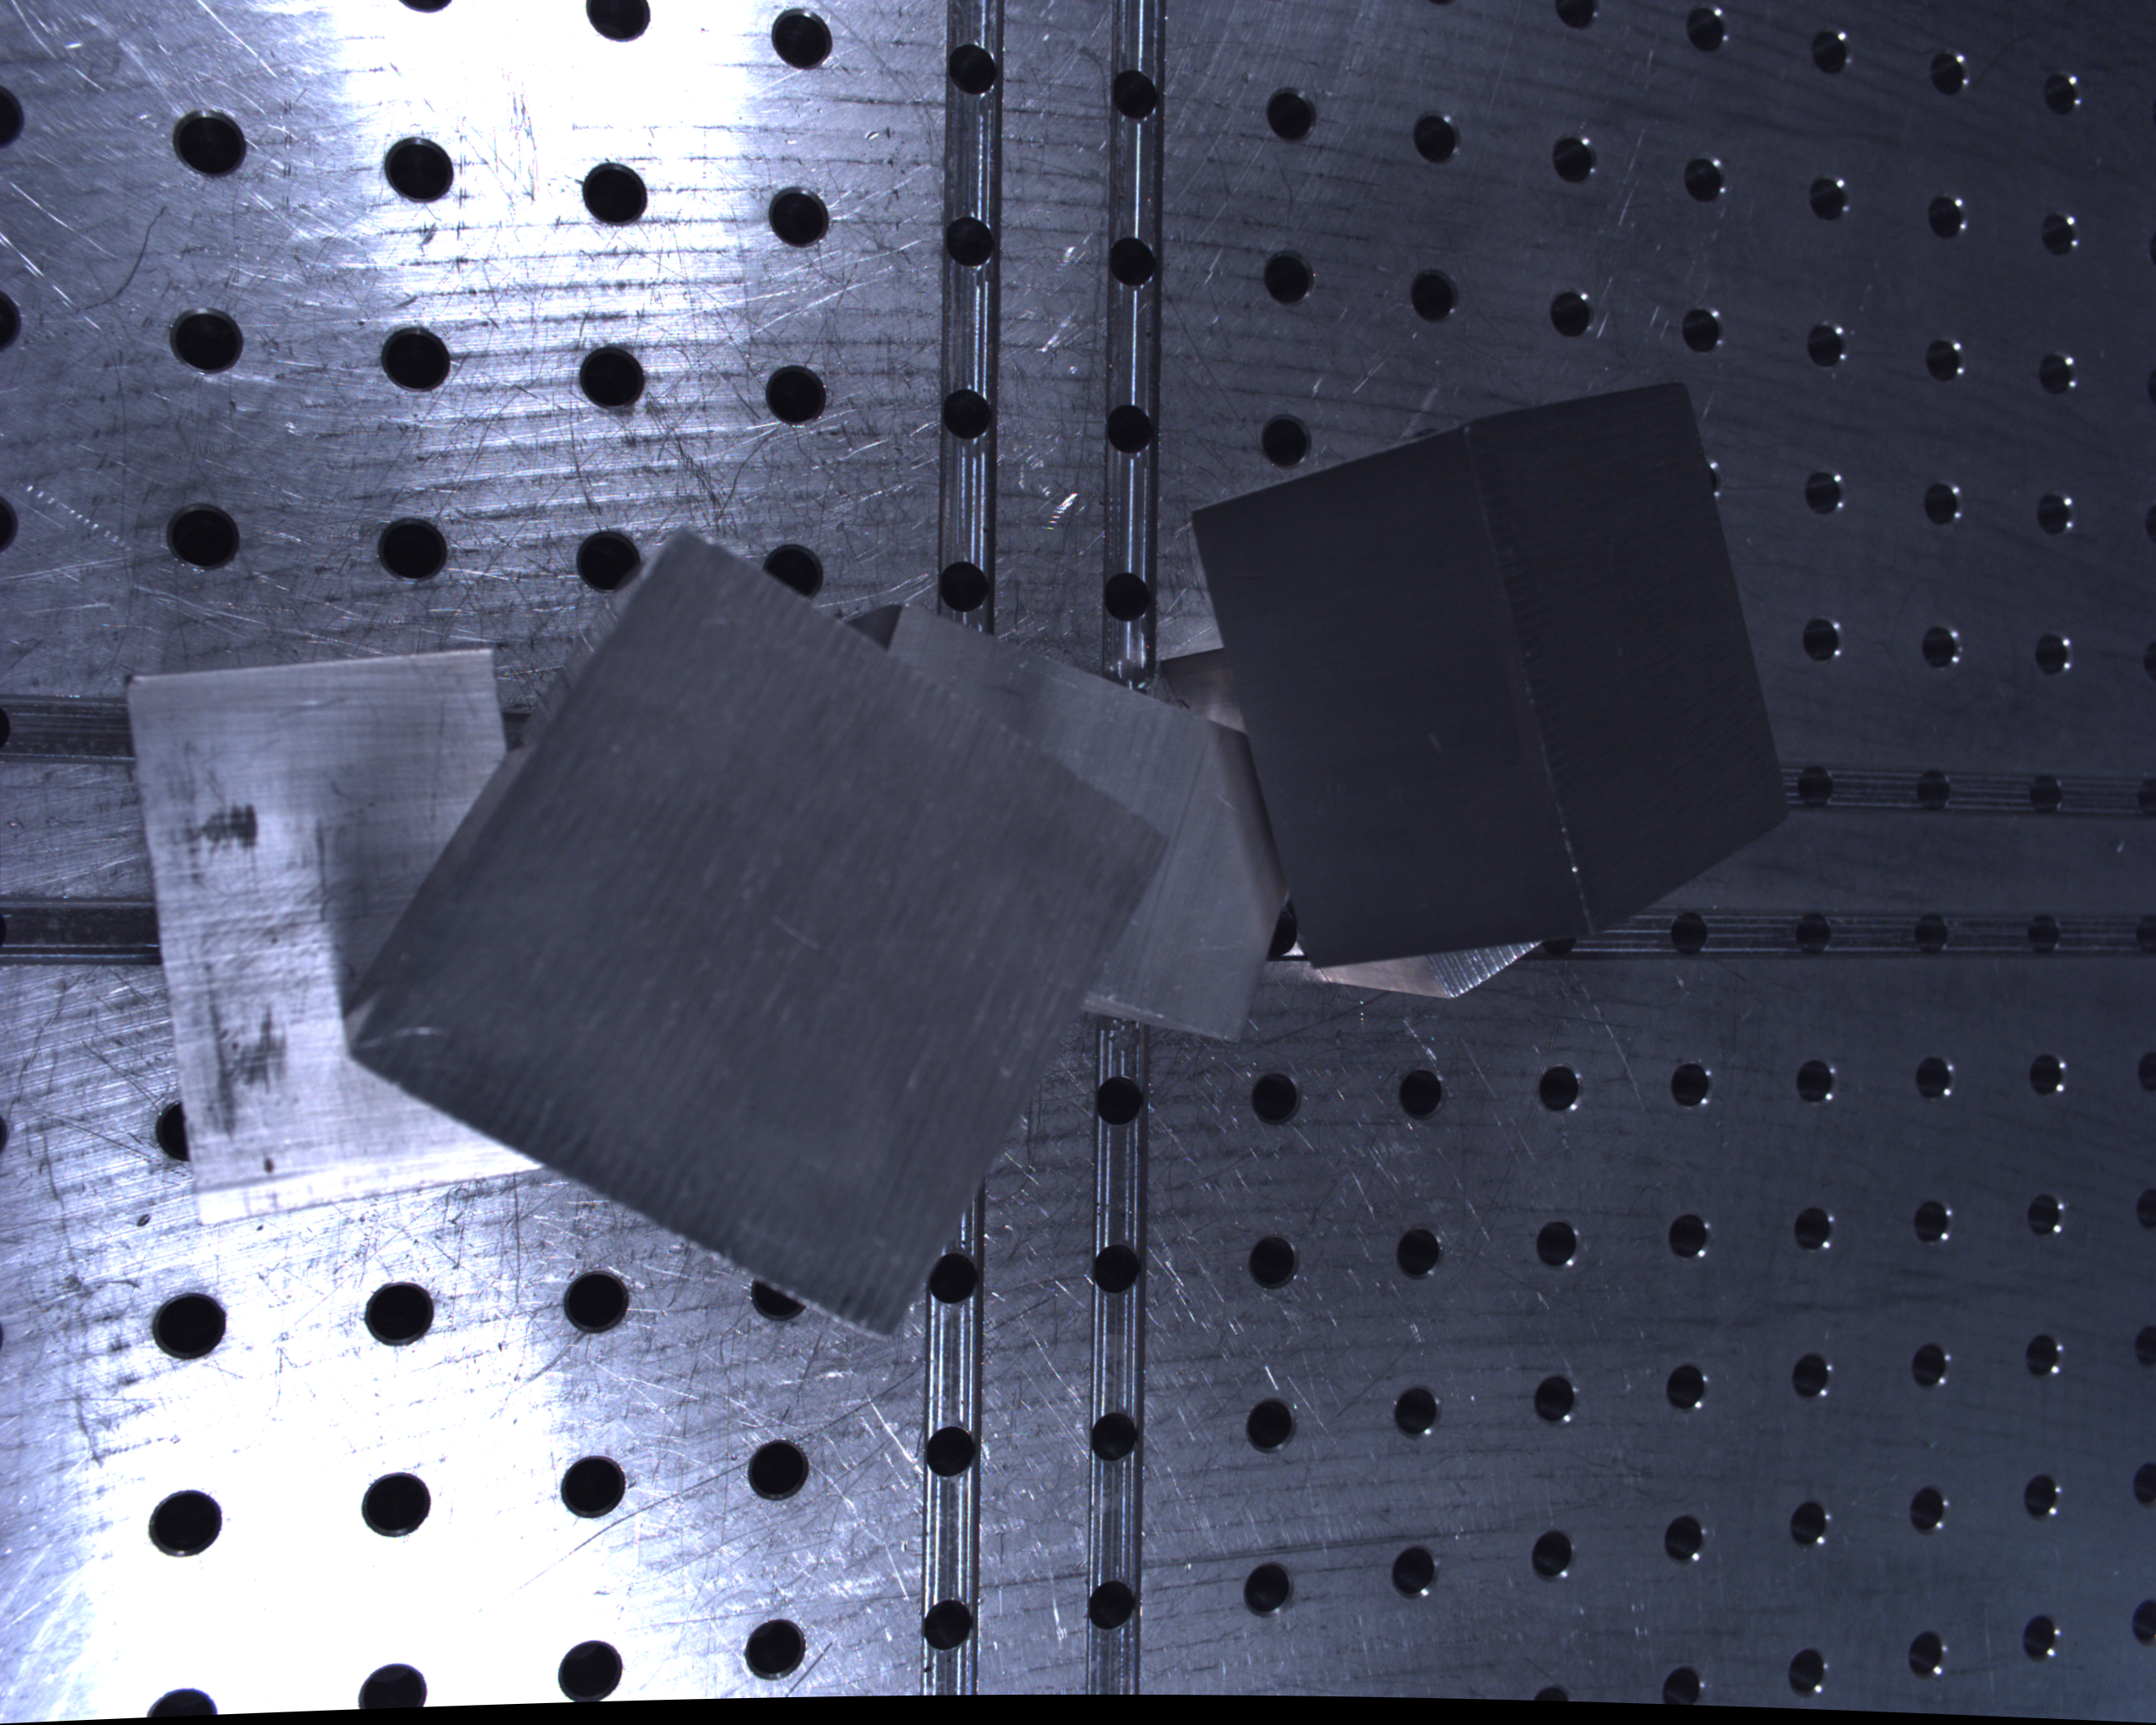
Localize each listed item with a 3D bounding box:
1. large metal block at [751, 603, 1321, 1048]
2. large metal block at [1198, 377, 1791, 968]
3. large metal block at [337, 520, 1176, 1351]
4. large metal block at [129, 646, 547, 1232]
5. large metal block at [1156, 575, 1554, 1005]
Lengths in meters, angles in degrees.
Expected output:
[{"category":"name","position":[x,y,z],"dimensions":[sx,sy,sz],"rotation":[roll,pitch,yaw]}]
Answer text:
[{"category":"large metal block","position":[-0.013,-0.005,0.379],"dimensions":[0.081,0.080,0.050],"rotation":[20,84,-19]},{"category":"large metal block","position":[0.073,-0.034,0.355],"dimensions":[0.081,0.050,0.080],"rotation":[-22,99,-48]},{"category":"large metal block","position":[-0.047,0.010,0.296],"dimensions":[0.080,0.050,0.080],"rotation":[33,79,-17]},{"category":"large metal block","position":[-0.119,0.010,0.339],"dimensions":[0.050,0.080,0.079],"rotation":[-7,93,-20]},{"category":"large metal block","position":[0.076,-0.027,0.429],"dimensions":[0.080,0.050,0.080],"rotation":[-32,101,-18]}]
